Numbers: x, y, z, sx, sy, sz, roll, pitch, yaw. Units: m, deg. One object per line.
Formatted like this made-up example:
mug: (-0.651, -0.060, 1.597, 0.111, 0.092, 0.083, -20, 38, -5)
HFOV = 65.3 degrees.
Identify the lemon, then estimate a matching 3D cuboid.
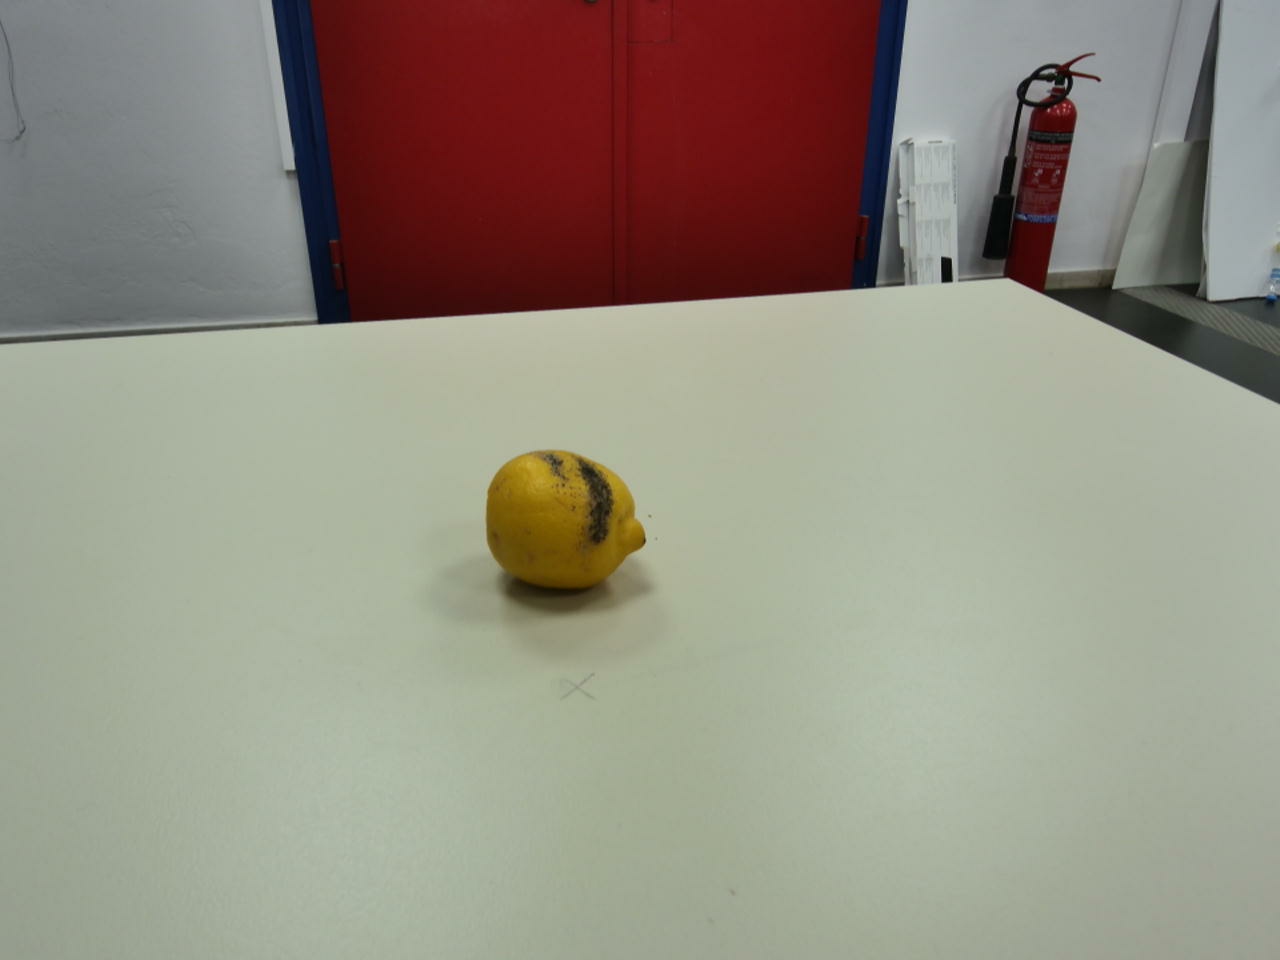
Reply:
lemon: (-0.033, 0.016, 0.410, 0.061, 0.056, 0.058, -9, 26, -19)
